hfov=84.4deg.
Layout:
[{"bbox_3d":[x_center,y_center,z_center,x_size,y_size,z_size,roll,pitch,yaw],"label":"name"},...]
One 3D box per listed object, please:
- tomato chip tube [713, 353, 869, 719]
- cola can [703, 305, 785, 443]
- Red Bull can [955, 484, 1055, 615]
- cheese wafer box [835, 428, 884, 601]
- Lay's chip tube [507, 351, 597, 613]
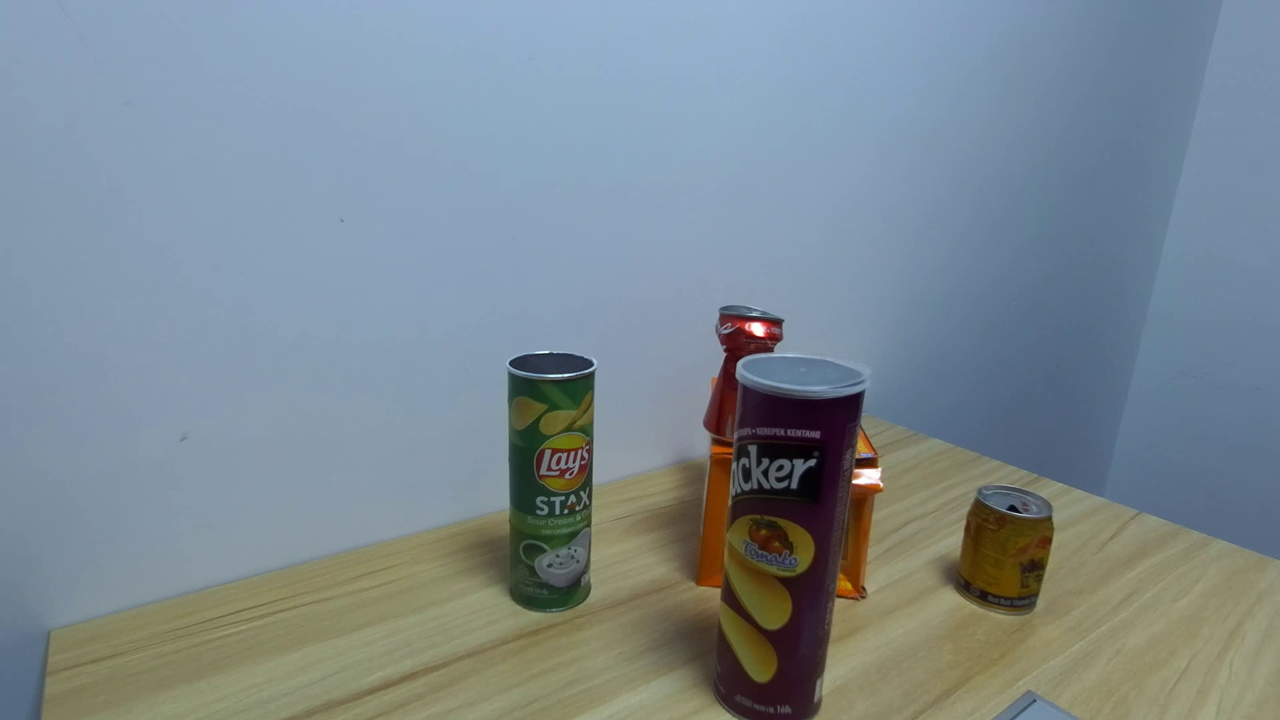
[{"bbox_3d":[0.094,0.118,0.459,0.078,0.234,0.078,2,17,0],"label":"tomato chip tube"},{"bbox_3d":[0.087,0.014,0.593,0.065,0.112,0.069,8,12,24],"label":"cola can"},{"bbox_3d":[0.316,0.163,0.611,0.069,0.092,0.069,2,14,0],"label":"Red Bull can"},{"bbox_3d":[0.143,0.122,0.700,0.149,0.137,0.227,5,8,7],"label":"cheese wafer box"},{"bbox_3d":[-0.071,0.098,0.572,0.071,0.202,0.071,2,16,0],"label":"Lay's chip tube"}]
